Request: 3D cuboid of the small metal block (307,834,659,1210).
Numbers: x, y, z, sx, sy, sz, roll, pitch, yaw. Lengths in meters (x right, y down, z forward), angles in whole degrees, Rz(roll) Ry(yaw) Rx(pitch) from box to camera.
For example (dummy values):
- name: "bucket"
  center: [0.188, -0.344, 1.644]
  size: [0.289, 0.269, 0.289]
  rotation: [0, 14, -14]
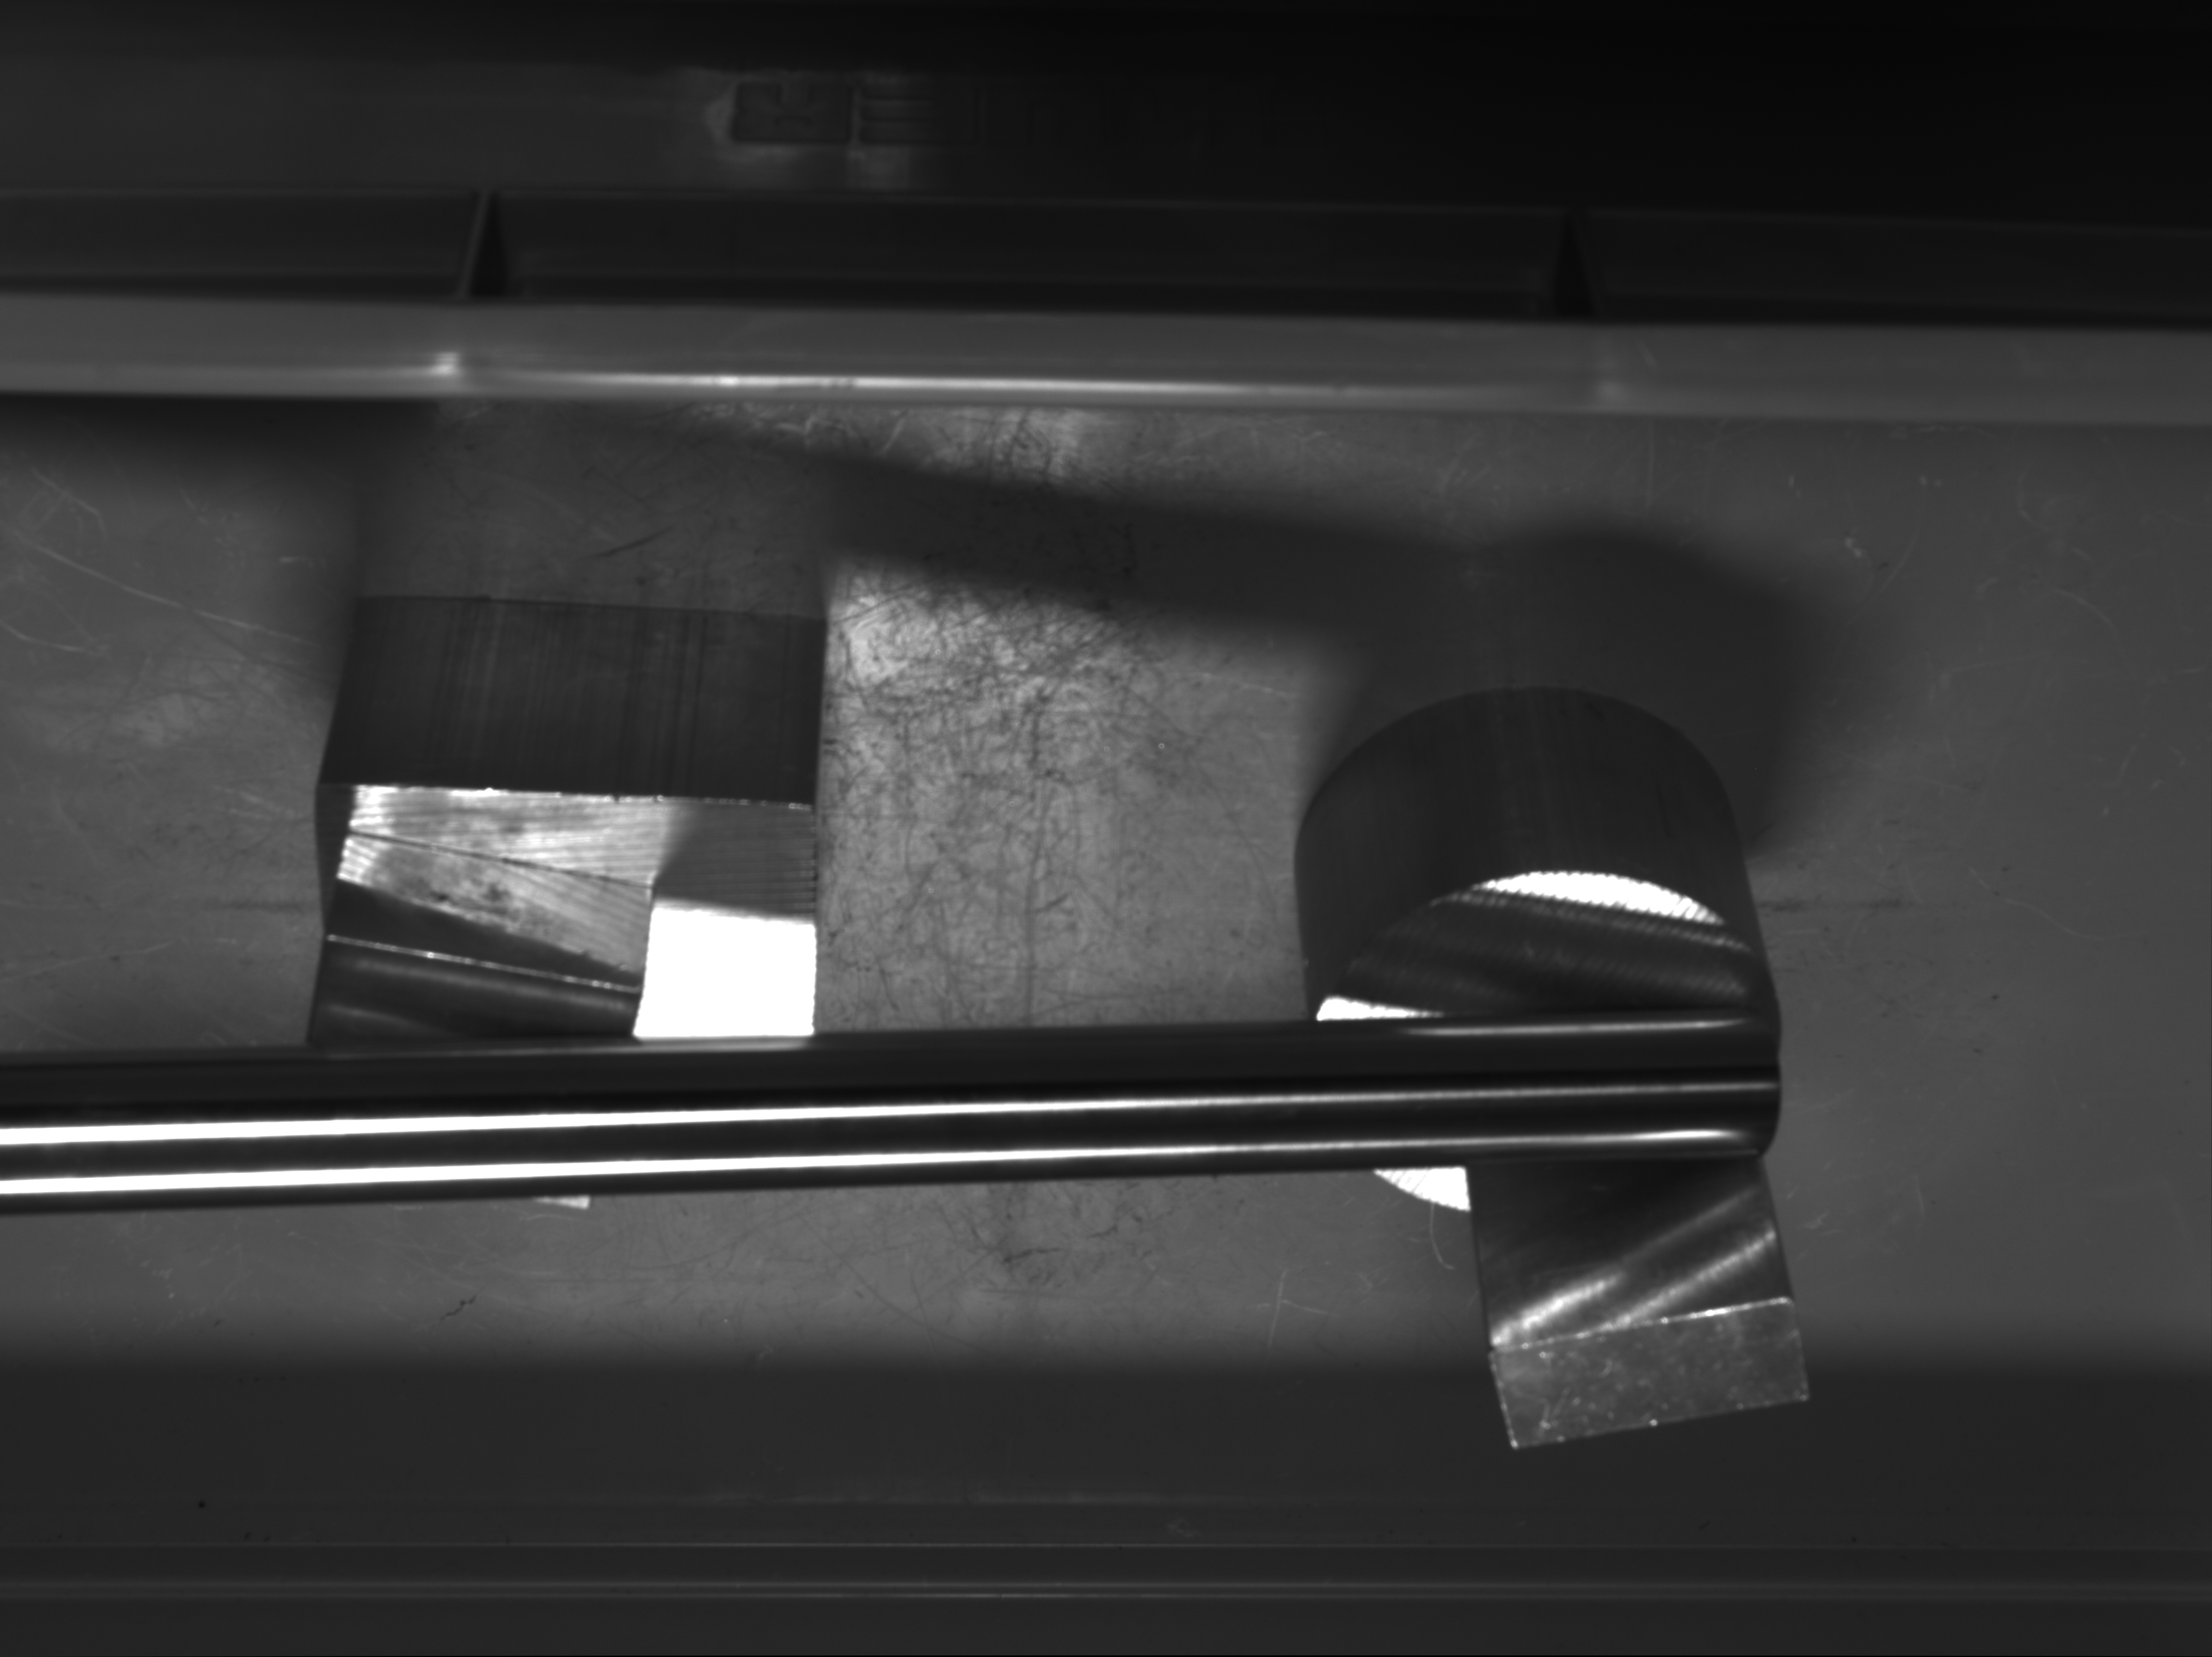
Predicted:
- name: "small metal block"
  center: [-0.103, 0.032, 0.595]
  size: [0.050, 0.025, 0.050]
  rotation: [10, 128, -10]

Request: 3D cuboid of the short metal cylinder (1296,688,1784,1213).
- name: "short metal cylinder"
  center: [0.075, 0.022, 0.642]
  size: [0.080, 0.050, 0.080]
  rotation: [-1, 130, -1]

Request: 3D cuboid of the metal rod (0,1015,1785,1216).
- name: "metal rod"
  center: [-0.039, 0.045, 0.581]
  size: [0.300, 0.025, 0.025]
  rotation: [-1, 130, -11]

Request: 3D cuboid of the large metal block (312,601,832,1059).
- name: "large metal block"
  center: [-0.088, 0.010, 0.624]
  size: [0.080, 0.050, 0.080]
  rotation: [2, 130, -4]

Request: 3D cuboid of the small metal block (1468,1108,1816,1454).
- name: "small metal block"
  center: [0.089, 0.074, 0.619]
  size: [0.050, 0.050, 0.025]
  rotation: [-11, 129, 8]
